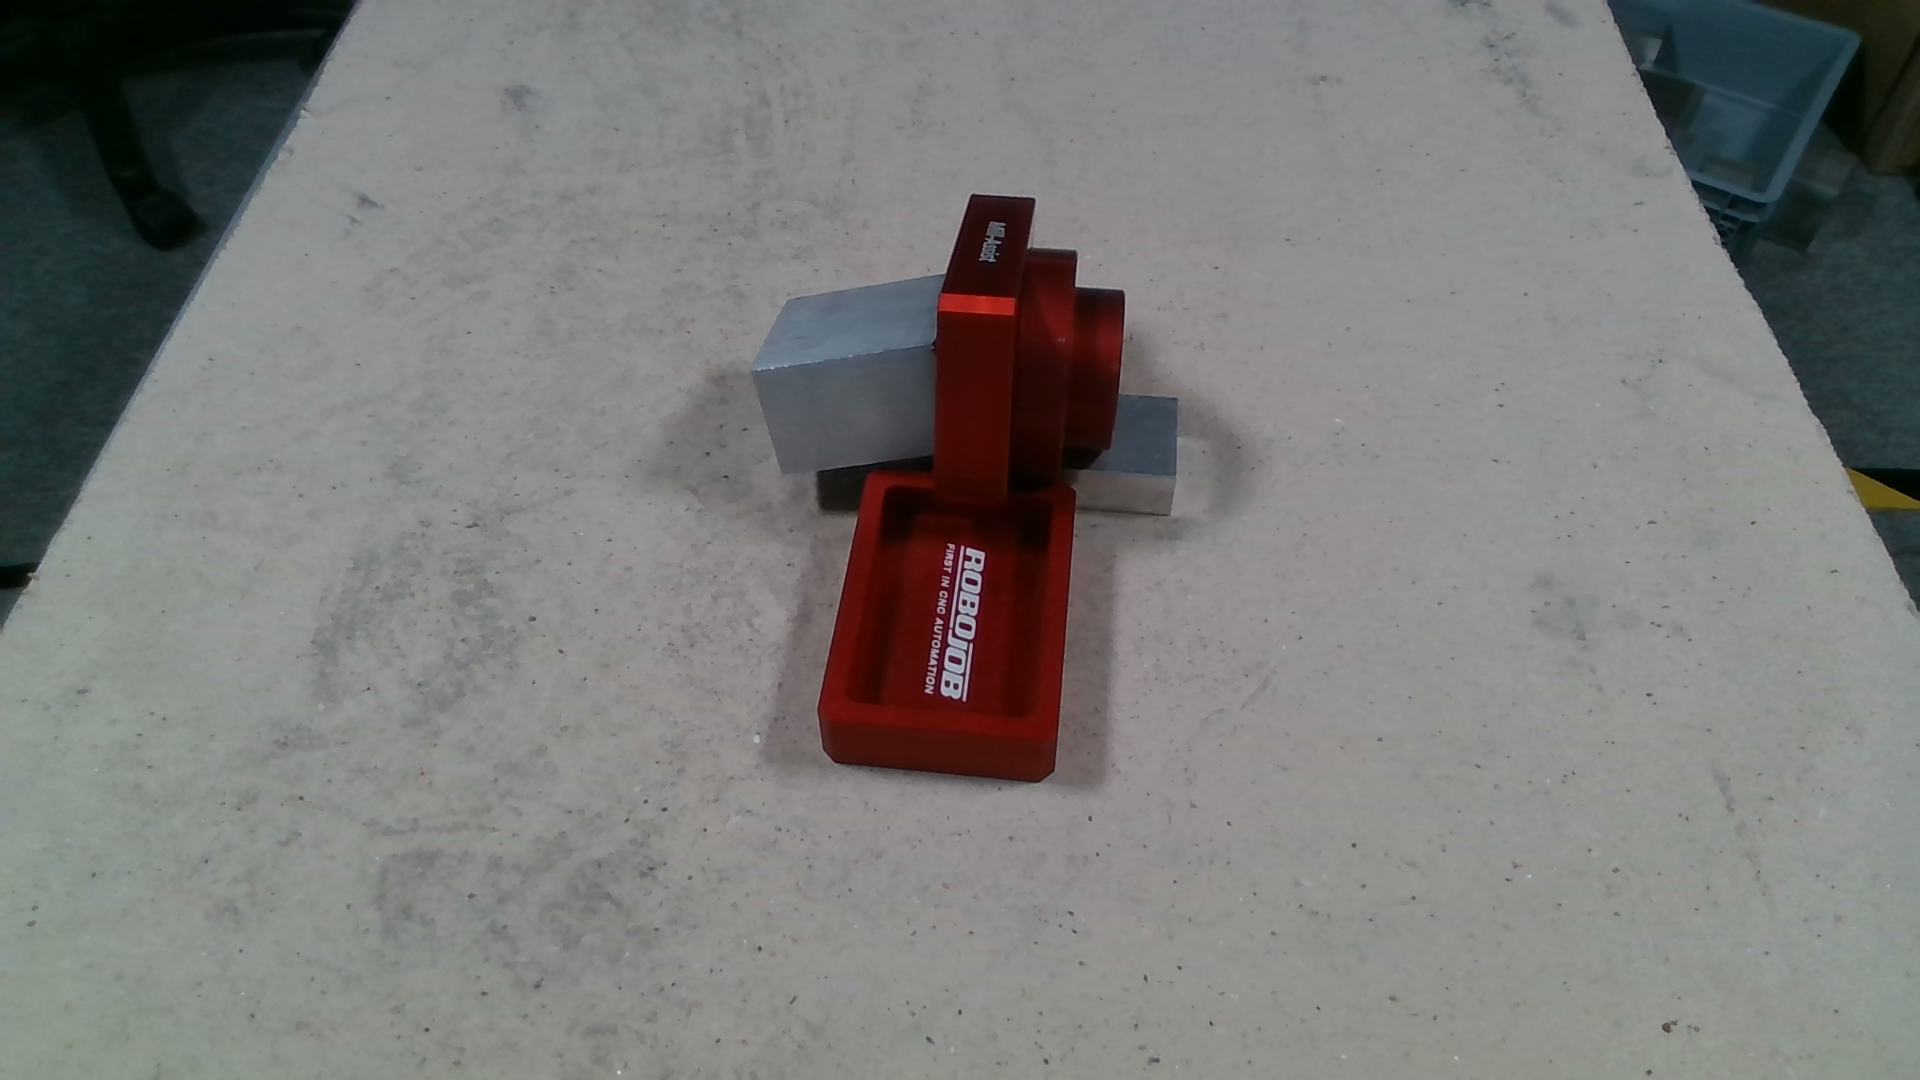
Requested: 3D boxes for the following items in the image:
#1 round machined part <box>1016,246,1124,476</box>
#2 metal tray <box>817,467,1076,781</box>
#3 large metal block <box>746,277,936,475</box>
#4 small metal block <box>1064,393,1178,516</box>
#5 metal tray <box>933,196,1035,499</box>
[{"bbox_3d":[0.046,-0.075,0.588,0.042,0.098,0.098,5,50,4],"label":"round machined part"},{"bbox_3d":[-0.002,0.030,0.559,0.090,0.030,0.130,5,50,4],"label":"metal tray"},{"bbox_3d":[-0.041,-0.075,0.609,0.080,0.050,0.080,-7,31,11],"label":"large metal block"},{"bbox_3d":[0.071,-0.040,0.621,0.050,0.025,0.050,5,50,4],"label":"small metal block"},{"bbox_3d":[0.012,-0.087,0.595,0.030,0.090,0.130,4,32,5],"label":"metal tray"}]
